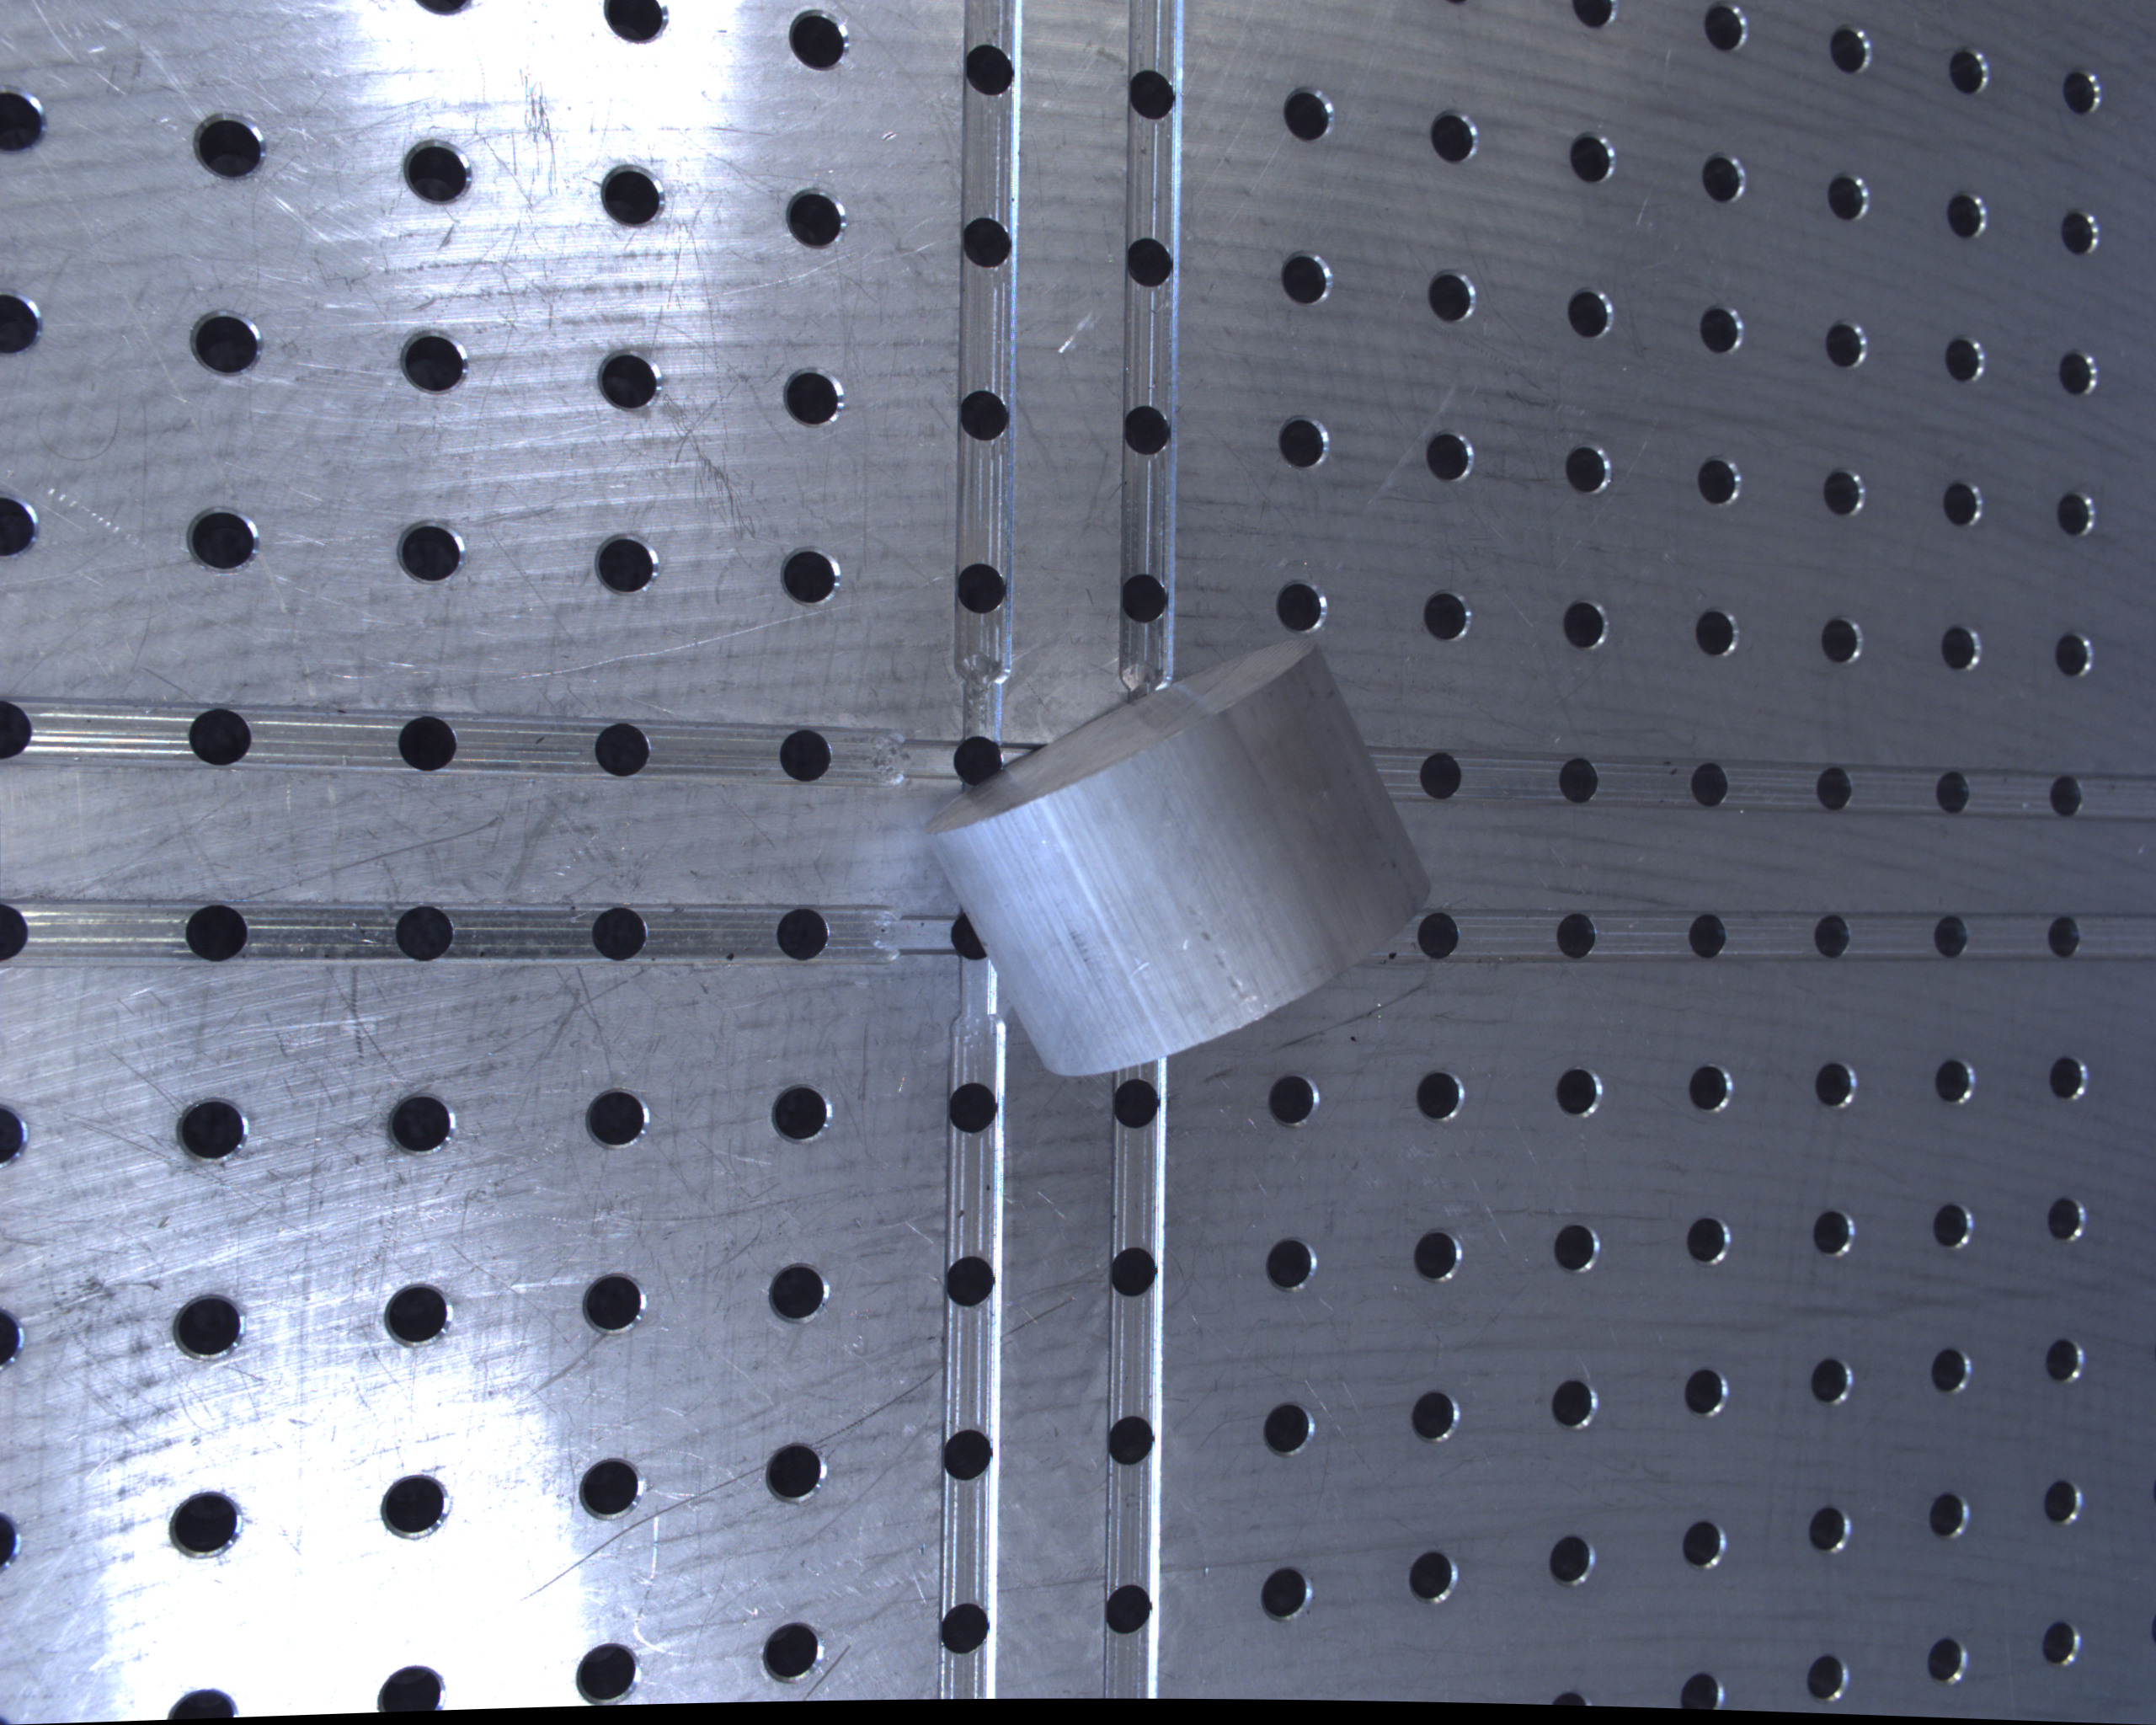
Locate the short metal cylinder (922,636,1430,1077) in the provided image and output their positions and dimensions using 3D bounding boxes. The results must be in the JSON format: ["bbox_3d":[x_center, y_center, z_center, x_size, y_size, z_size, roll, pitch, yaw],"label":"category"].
[{"bbox_3d":[0.018,-0.002,0.389,0.080,0.080,0.050,-30,99,-18],"label":"short metal cylinder"}]
